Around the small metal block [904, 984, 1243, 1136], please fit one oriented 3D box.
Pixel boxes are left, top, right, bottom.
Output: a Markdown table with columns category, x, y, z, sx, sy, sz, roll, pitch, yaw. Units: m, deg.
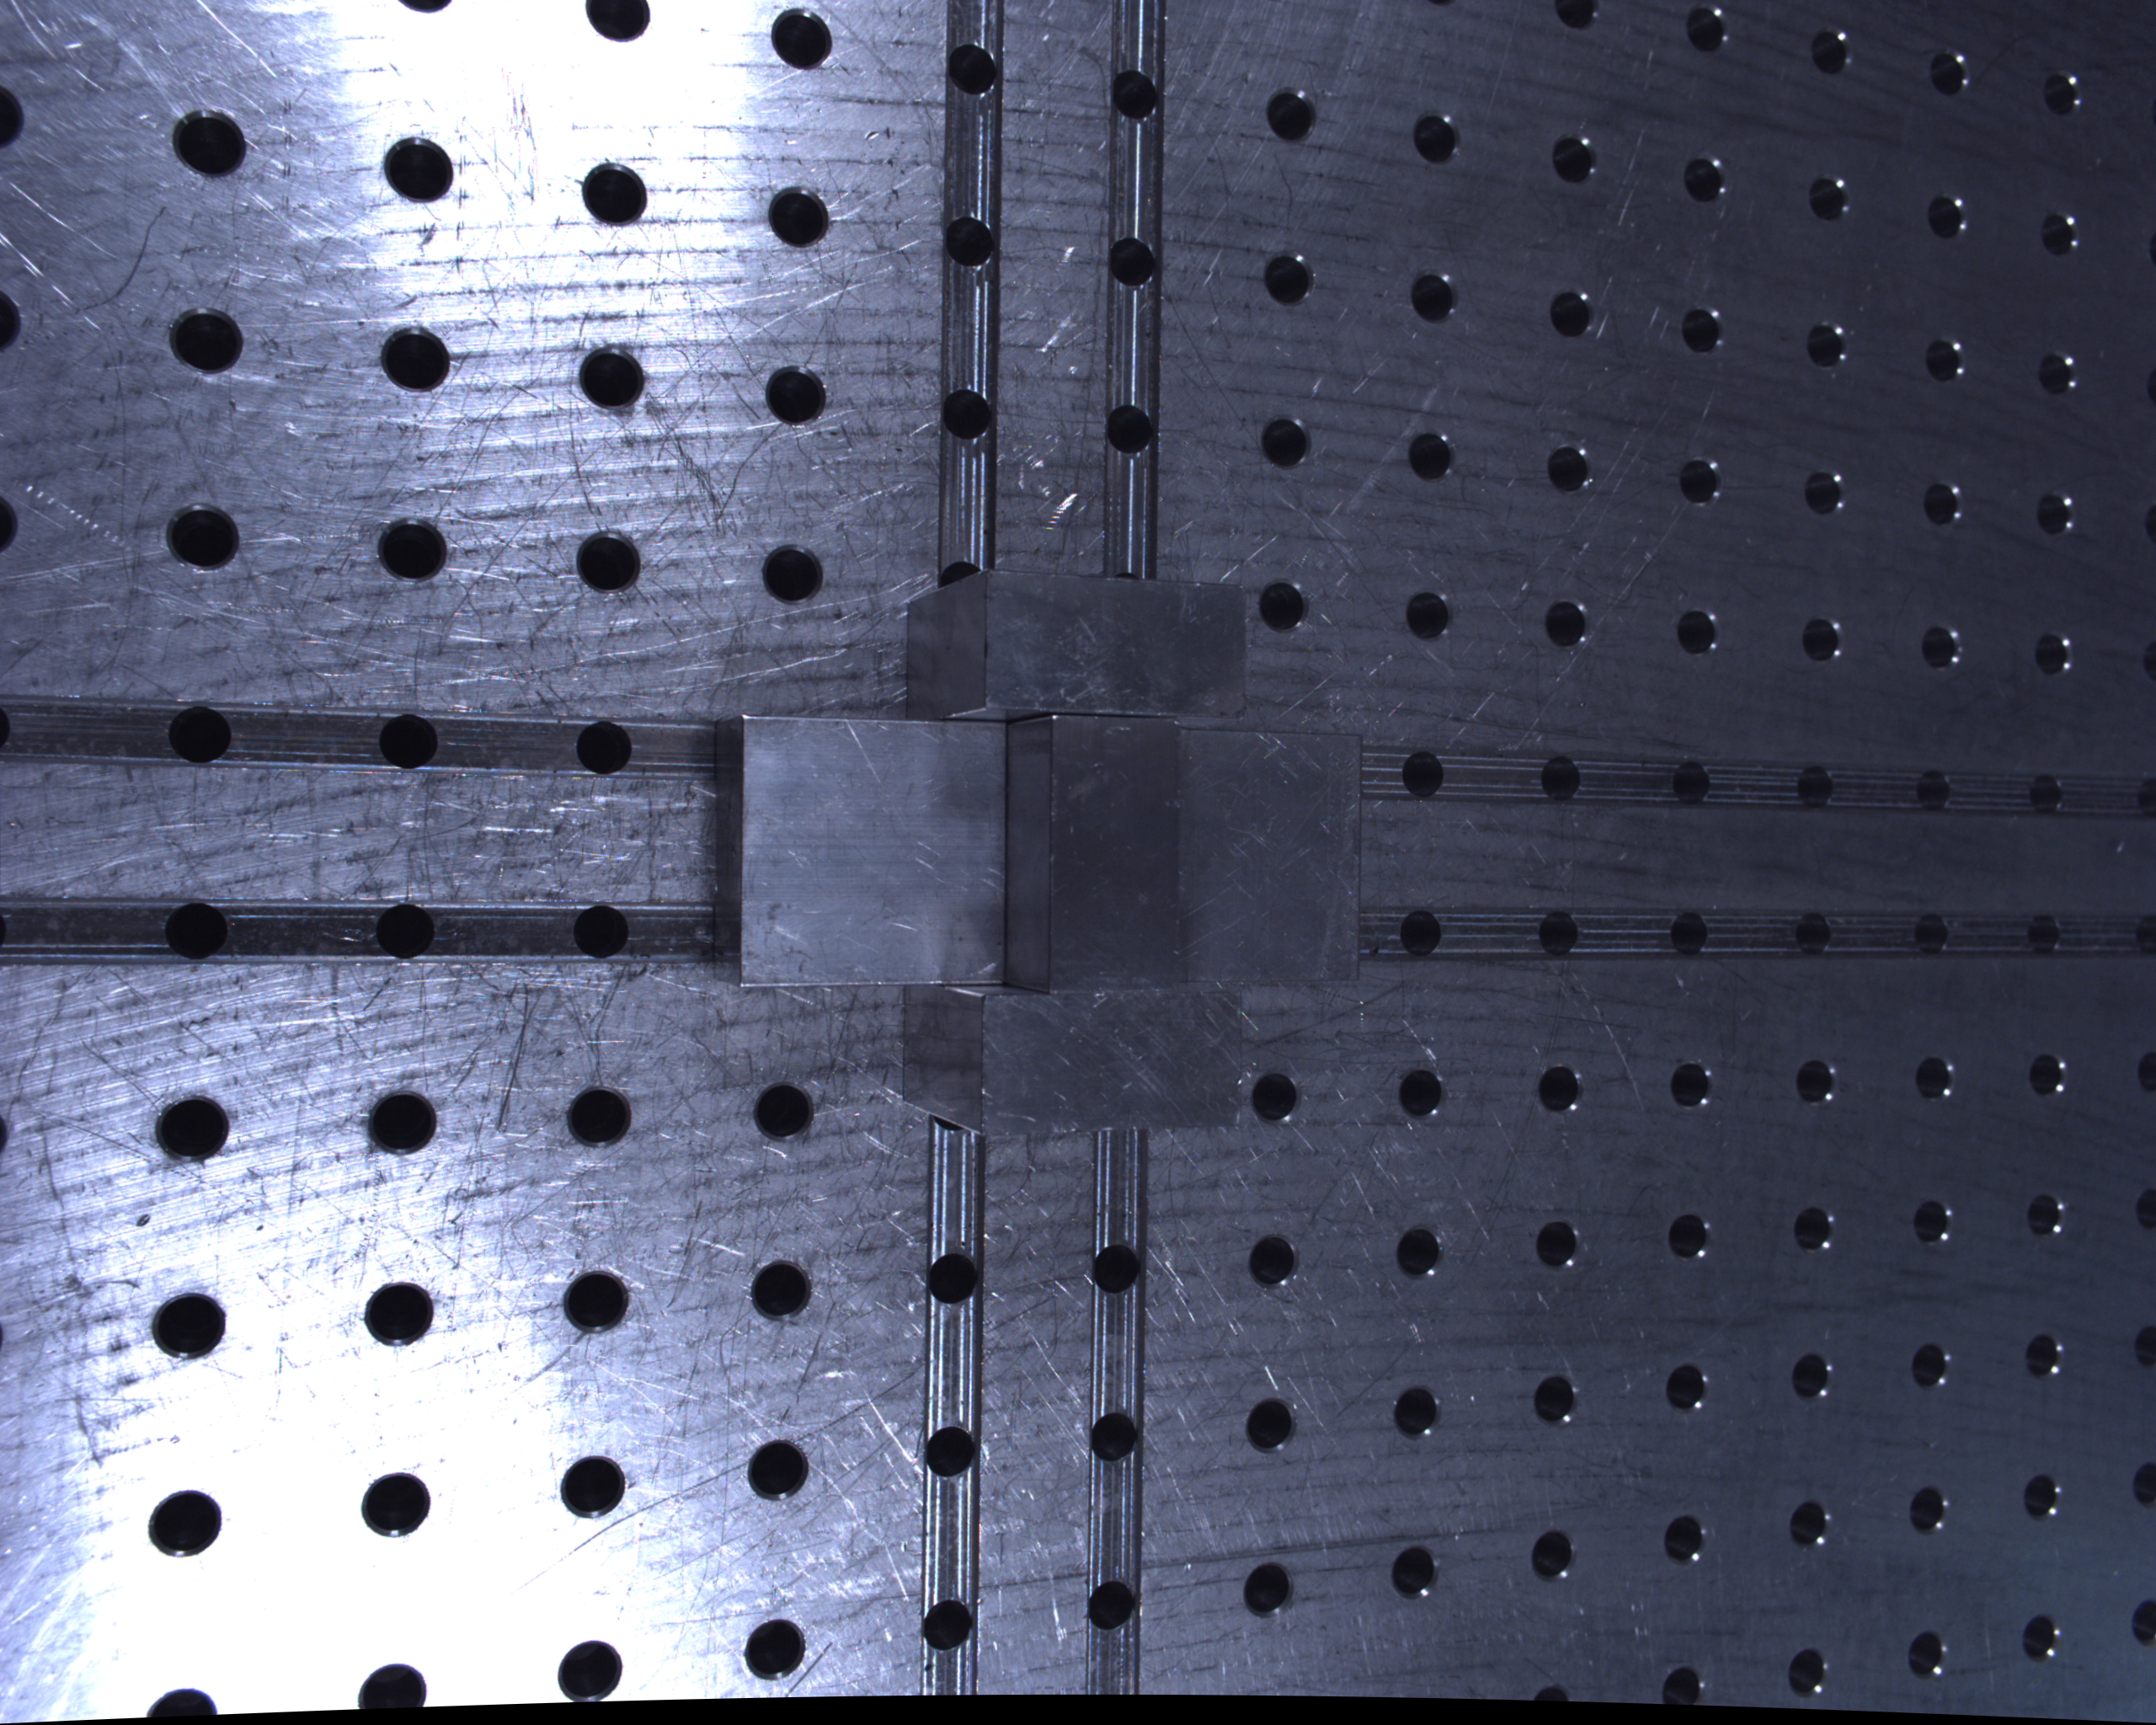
| category | x | y | z | sx | sy | sz | roll | pitch | yaw |
| --- | --- | --- | --- | --- | --- | --- | --- | --- | --- |
| small metal block | -0.002 | 0.036 | 0.399 | 0.050 | 0.050 | 0.025 | 1 | 90 | -20 |

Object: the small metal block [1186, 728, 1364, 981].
| category | x | y | z | sx | sy | sz | roll | pitch | yaw |
| --- | --- | --- | --- | --- | --- | --- | --- | --- | --- |
| small metal block | 0.029 | -0.001 | 0.424 | 0.050 | 0.025 | 0.050 | 1 | 90 | -21 |

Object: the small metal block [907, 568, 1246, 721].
| category | x | y | z | sx | sy | sz | roll | pitch | yaw |
| --- | --- | --- | --- | --- | --- | --- | --- | --- | --- |
| small metal block | -0.001 | -0.039 | 0.399 | 0.050 | 0.050 | 0.025 | 1 | 90 | -20 |

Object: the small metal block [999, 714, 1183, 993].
| category | x | y | z | sx | sy | sz | roll | pitch | yaw |
| --- | --- | --- | --- | --- | --- | --- | --- | --- | --- |
| small metal block | -0.002 | -0.002 | 0.399 | 0.025 | 0.050 | 0.050 | 1 | 90 | -20 |

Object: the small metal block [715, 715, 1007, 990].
| category | x | y | z | sx | sy | sz | roll | pitch | yaw |
| --- | --- | --- | --- | --- | --- | --- | --- | --- | --- |
| small metal block | -0.042 | -0.002 | 0.398 | 0.050 | 0.025 | 0.050 | 1 | 90 | -21 |
